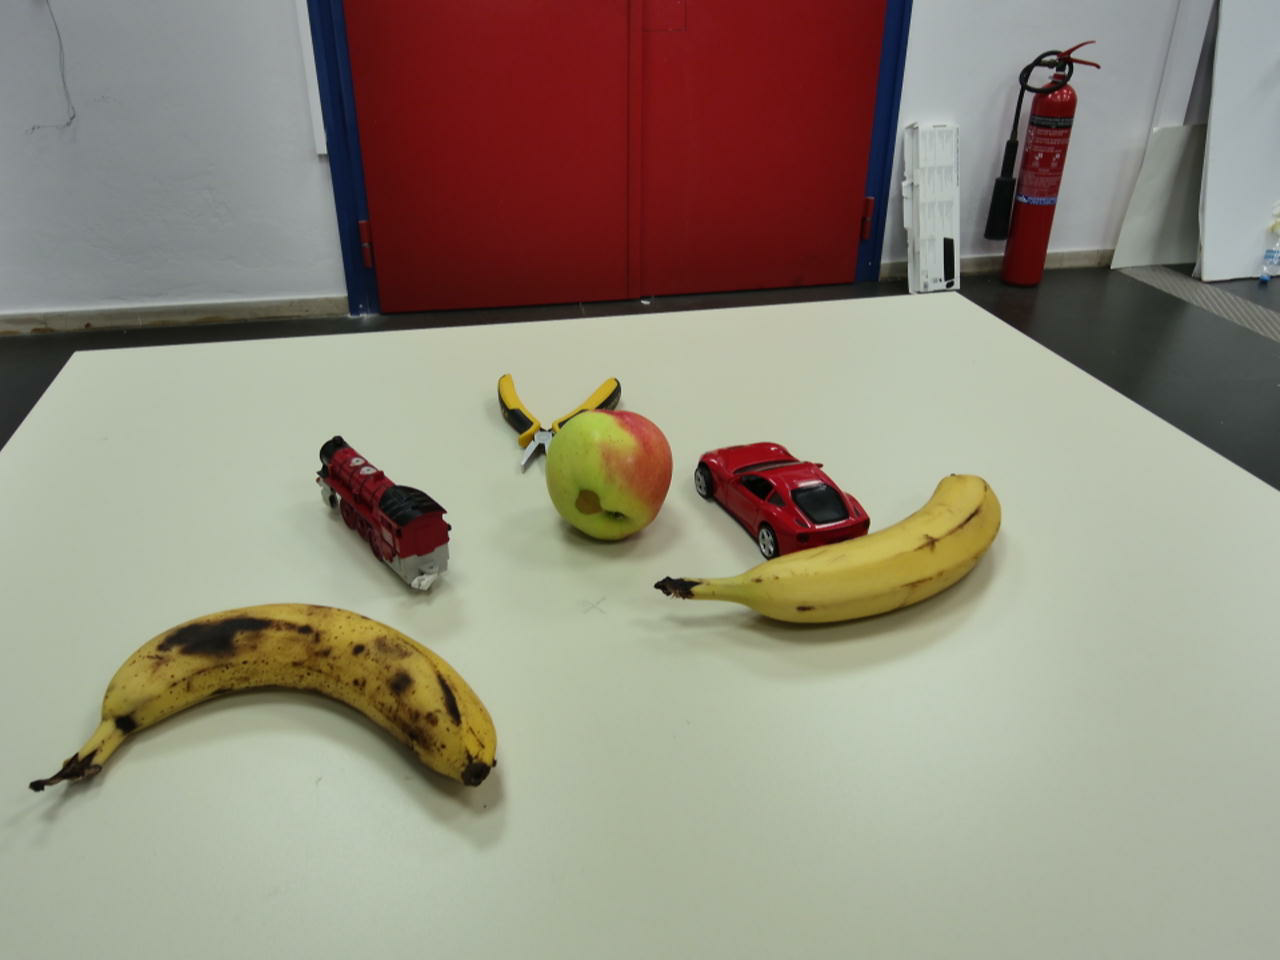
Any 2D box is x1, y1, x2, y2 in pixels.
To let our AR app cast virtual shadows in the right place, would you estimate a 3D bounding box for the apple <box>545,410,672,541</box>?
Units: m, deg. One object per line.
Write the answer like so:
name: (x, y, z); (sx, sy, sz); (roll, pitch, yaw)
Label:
apple: (-0.017, -0.004, 0.579); (0.075, 0.074, 0.075); (-14, 30, -29)
